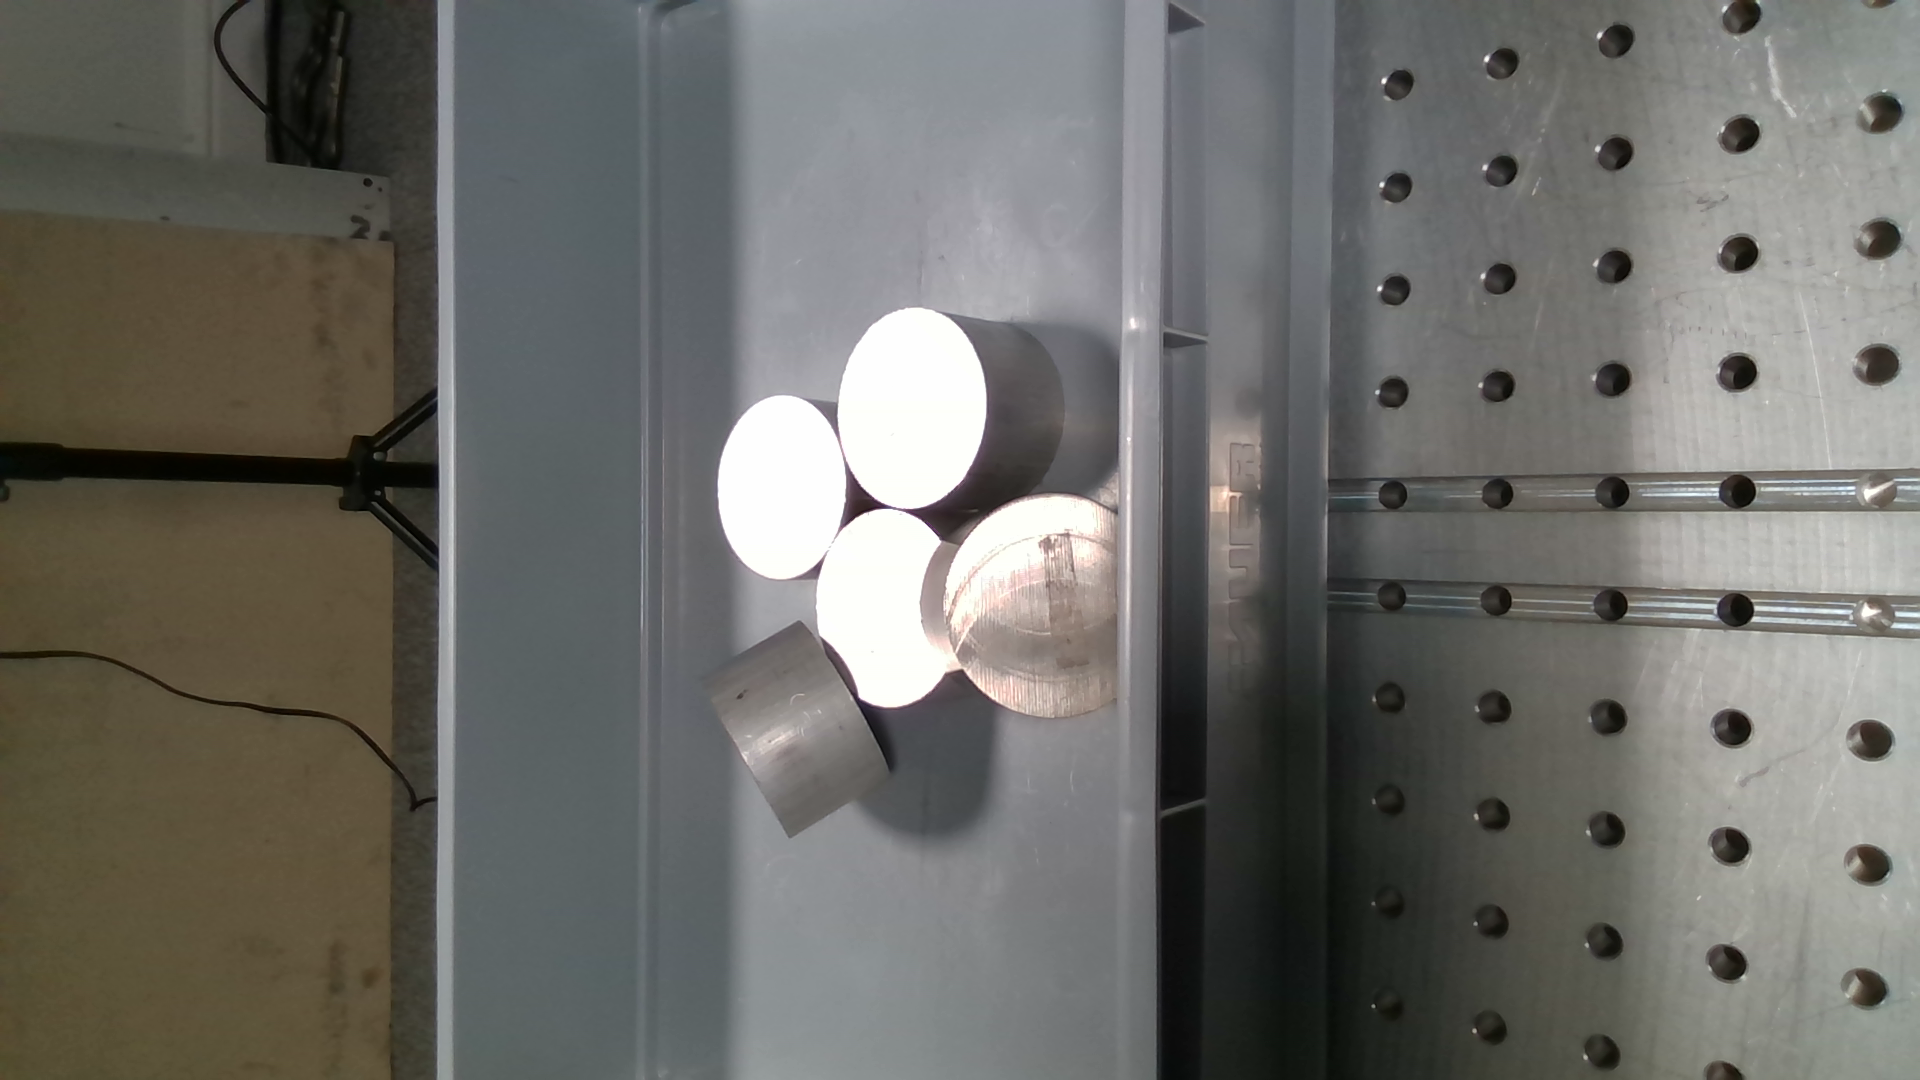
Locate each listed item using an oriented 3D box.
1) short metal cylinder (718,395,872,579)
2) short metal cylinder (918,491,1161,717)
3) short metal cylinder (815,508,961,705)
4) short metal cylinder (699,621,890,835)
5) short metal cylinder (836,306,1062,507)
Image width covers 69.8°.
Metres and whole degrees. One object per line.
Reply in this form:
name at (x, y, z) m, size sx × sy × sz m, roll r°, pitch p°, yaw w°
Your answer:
short metal cylinder at (-0.063, -0.023, 0.616) m, size 0.080 × 0.050 × 0.080 m, roll 0°, pitch 91°, yaw 40°
short metal cylinder at (0.028, 0.024, 0.512) m, size 0.050 × 0.080 × 0.080 m, roll 170°, pitch 98°, yaw -79°
short metal cylinder at (-0.015, 0.027, 0.576) m, size 0.080 × 0.050 × 0.080 m, roll 0°, pitch 91°, yaw 40°
short metal cylinder at (-0.073, 0.081, 0.600) m, size 0.080 × 0.050 × 0.080 m, roll 55°, pitch 166°, yaw 20°
short metal cylinder at (-0.005, -0.053, 0.567) m, size 0.080 × 0.050 × 0.080 m, roll 0°, pitch 91°, yaw 40°
